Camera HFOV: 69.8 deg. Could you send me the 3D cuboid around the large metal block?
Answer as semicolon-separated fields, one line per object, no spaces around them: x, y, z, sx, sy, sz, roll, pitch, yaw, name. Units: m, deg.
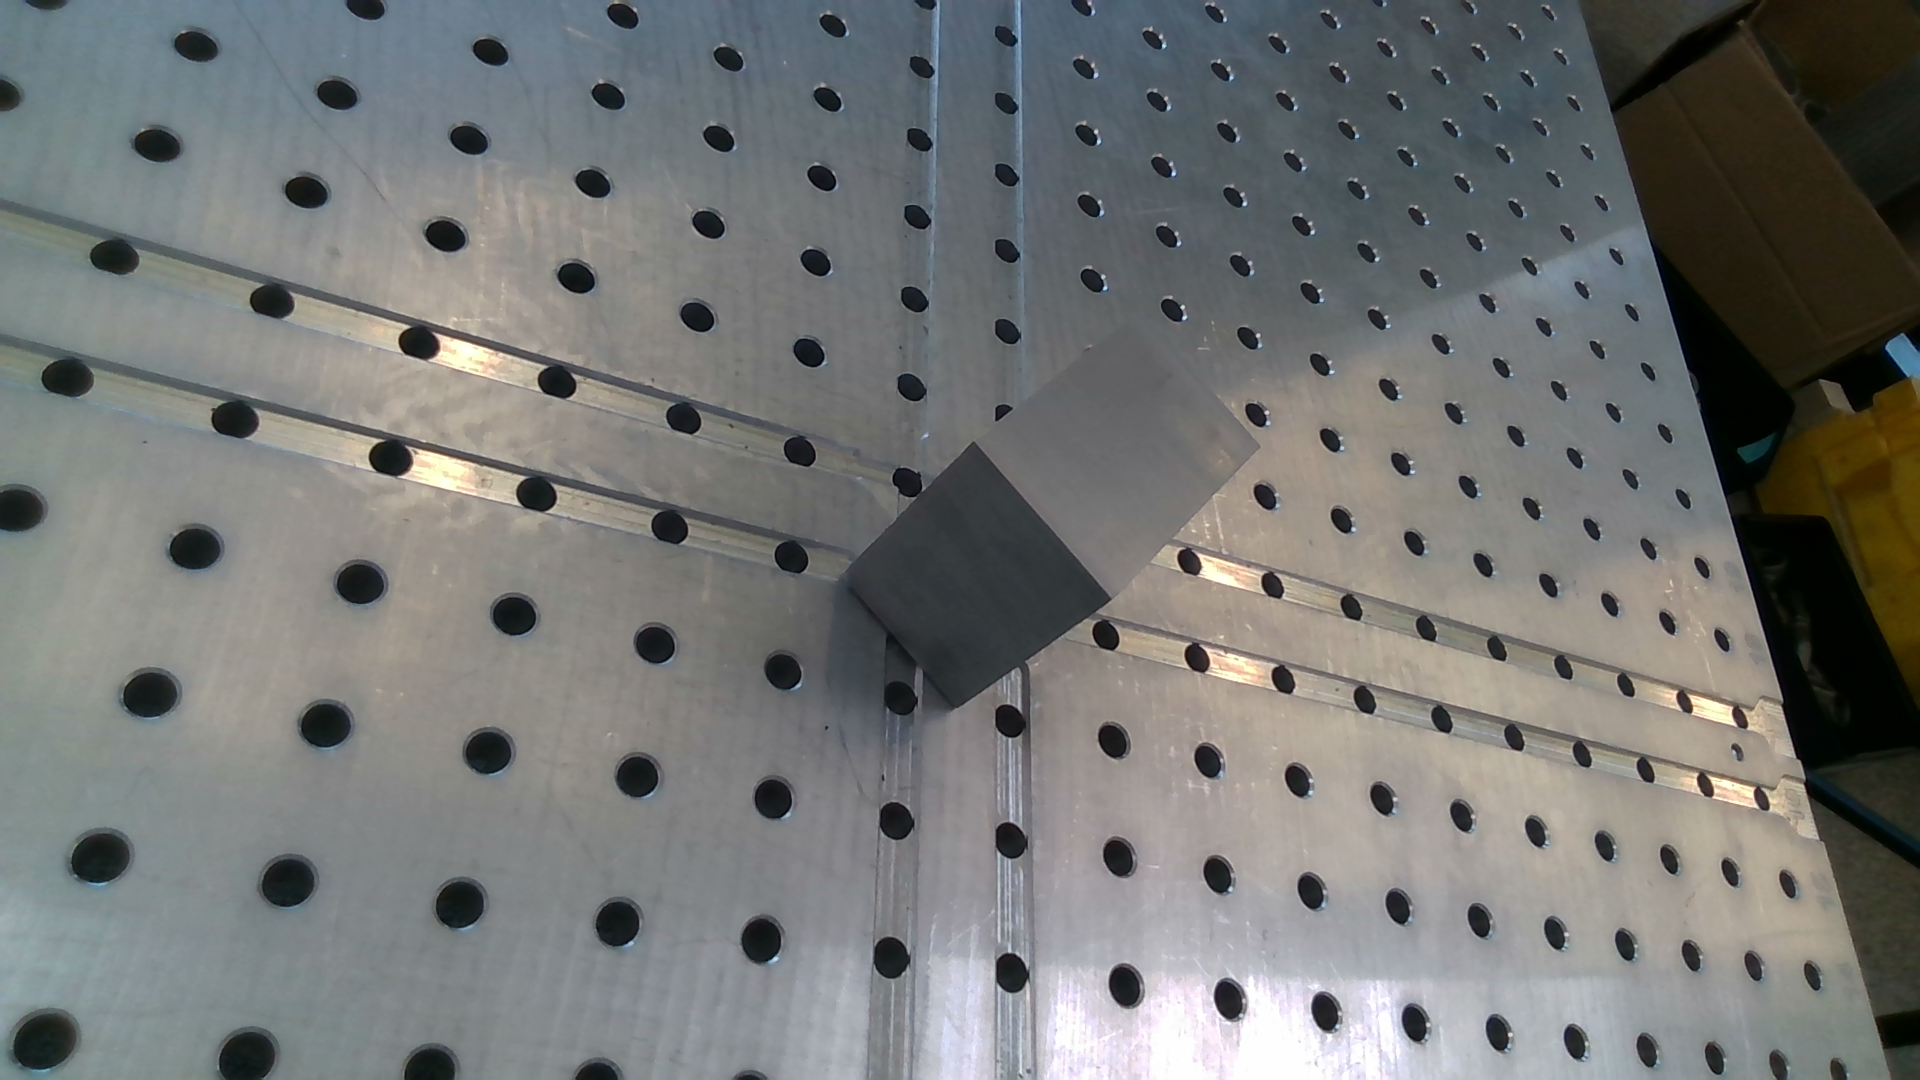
0.024;-0.008;0.379;0.050;0.080;0.080;48;51;0;large metal block
